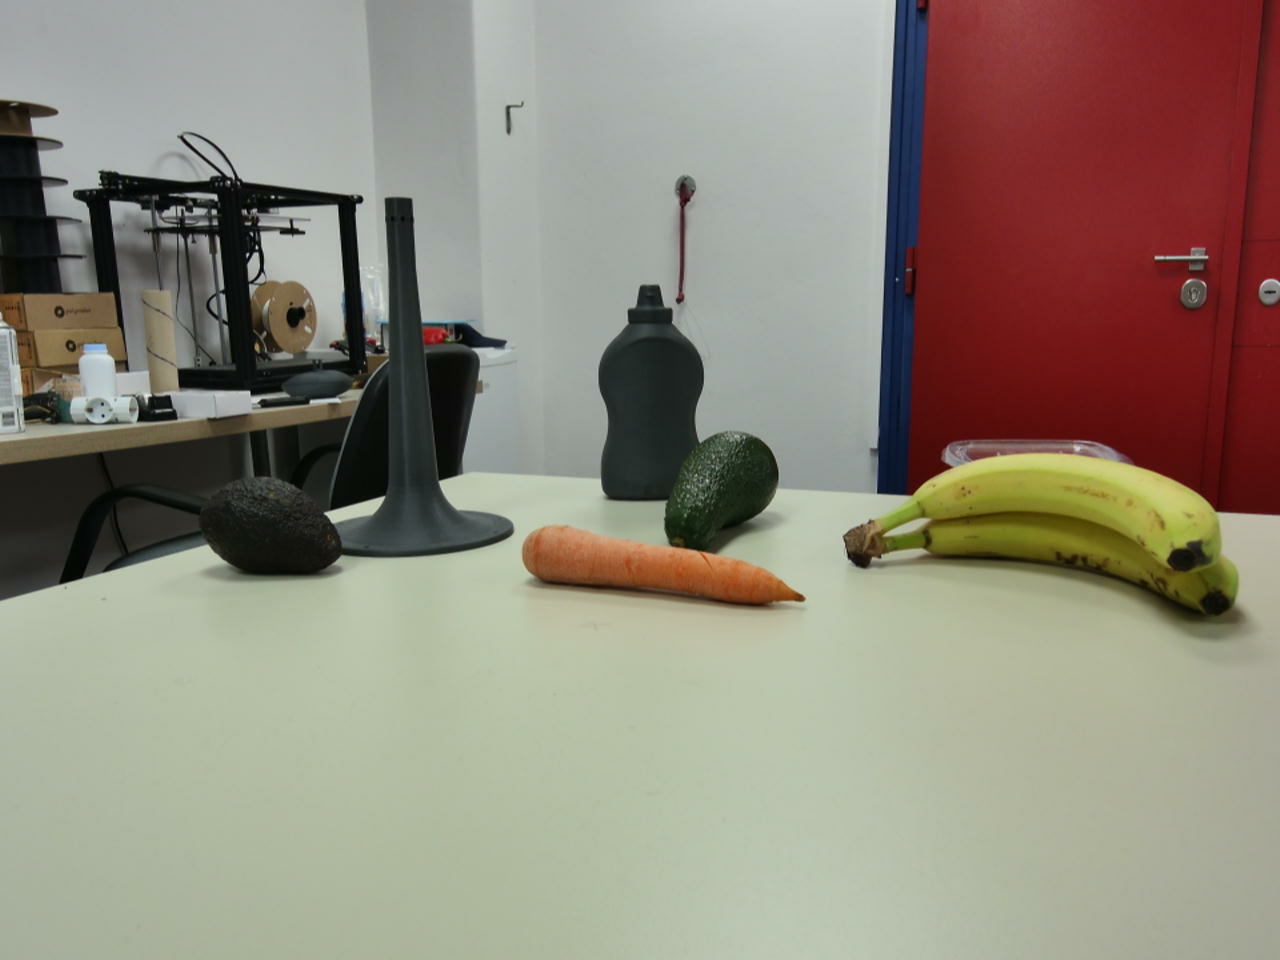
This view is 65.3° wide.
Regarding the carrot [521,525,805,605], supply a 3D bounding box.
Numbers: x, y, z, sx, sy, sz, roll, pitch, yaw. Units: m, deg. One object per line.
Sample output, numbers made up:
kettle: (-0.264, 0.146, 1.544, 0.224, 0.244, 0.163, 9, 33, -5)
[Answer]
carrot: (0.012, 0.054, 0.648, 0.196, 0.041, 0.039, 3, 8, 23)
